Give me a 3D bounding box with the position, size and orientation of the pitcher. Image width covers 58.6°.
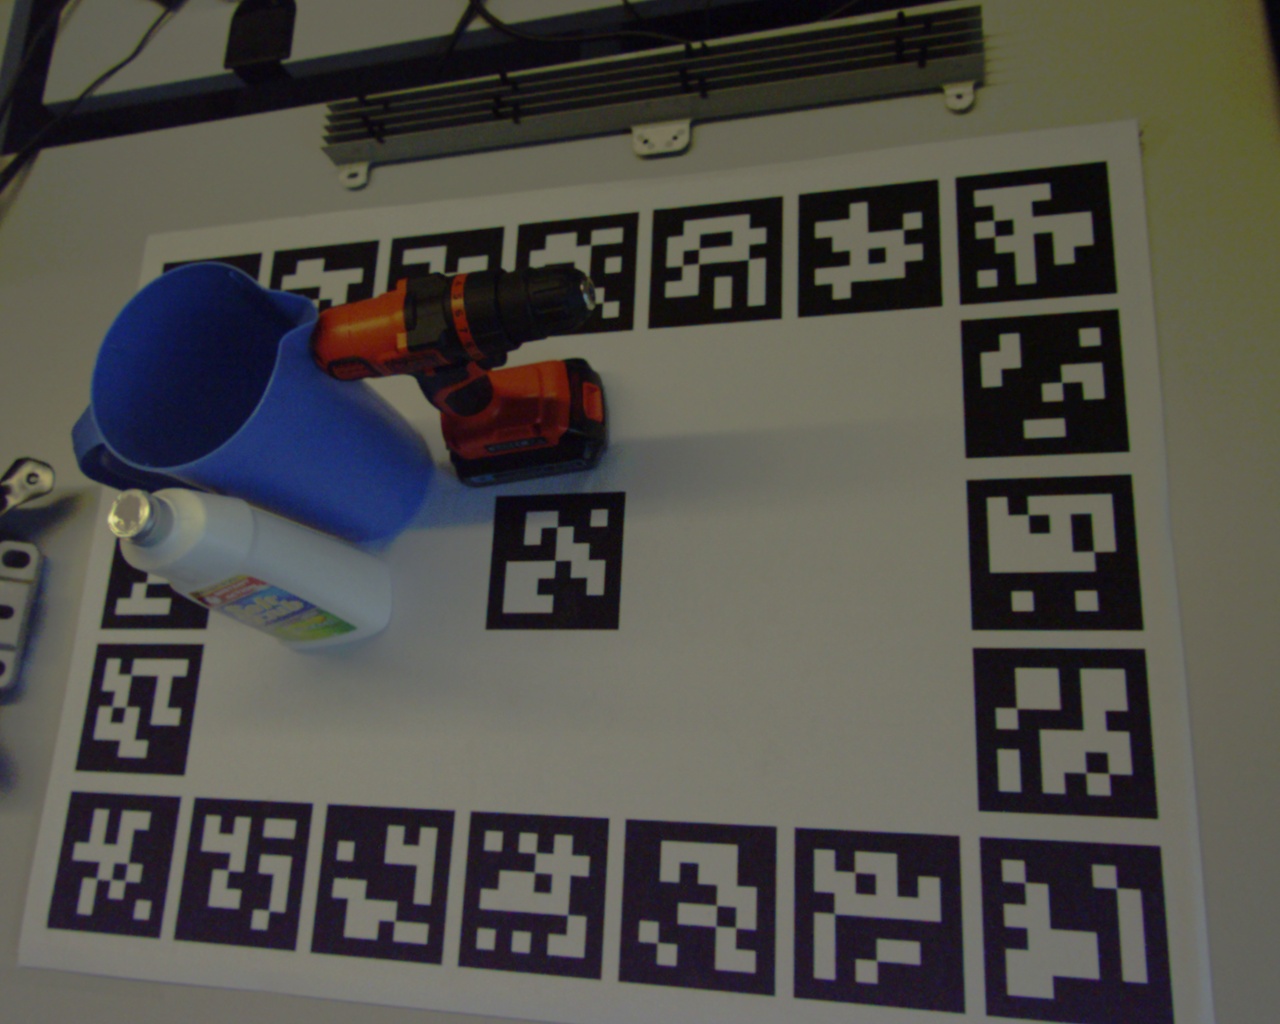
[{"bbox_3d":[-0.259,-0.062,0.812,0.189,0.240,0.134,-29,71,8],"label":"pitcher"}]

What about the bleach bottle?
[{"bbox_3d":[-0.278,0.032,0.771,0.103,0.248,0.068,-10,73,14],"label":"bleach bottle"}]

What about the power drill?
[{"bbox_3d":[-0.094,-0.084,0.777,0.185,0.186,0.057,-6,77,9],"label":"power drill"}]
